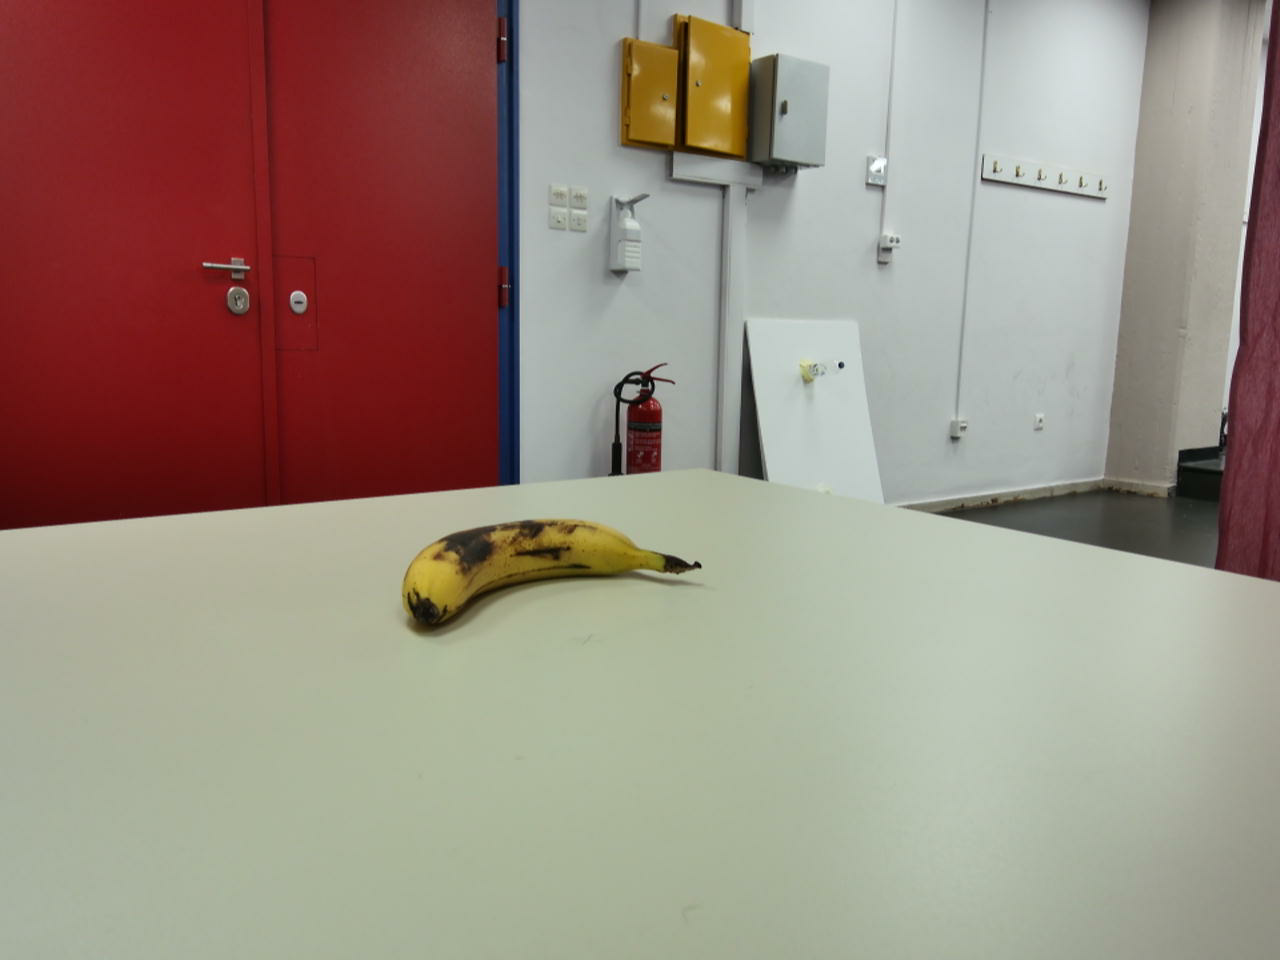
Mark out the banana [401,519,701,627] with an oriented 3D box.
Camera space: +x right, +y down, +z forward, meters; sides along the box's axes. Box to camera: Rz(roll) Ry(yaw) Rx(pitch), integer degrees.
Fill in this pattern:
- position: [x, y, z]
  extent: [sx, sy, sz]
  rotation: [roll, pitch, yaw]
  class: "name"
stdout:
- position: [-0.066, 0.049, 0.594]
  extent: [0.187, 0.039, 0.094]
  rotation: [-6, 9, -38]
  class: "banana"
